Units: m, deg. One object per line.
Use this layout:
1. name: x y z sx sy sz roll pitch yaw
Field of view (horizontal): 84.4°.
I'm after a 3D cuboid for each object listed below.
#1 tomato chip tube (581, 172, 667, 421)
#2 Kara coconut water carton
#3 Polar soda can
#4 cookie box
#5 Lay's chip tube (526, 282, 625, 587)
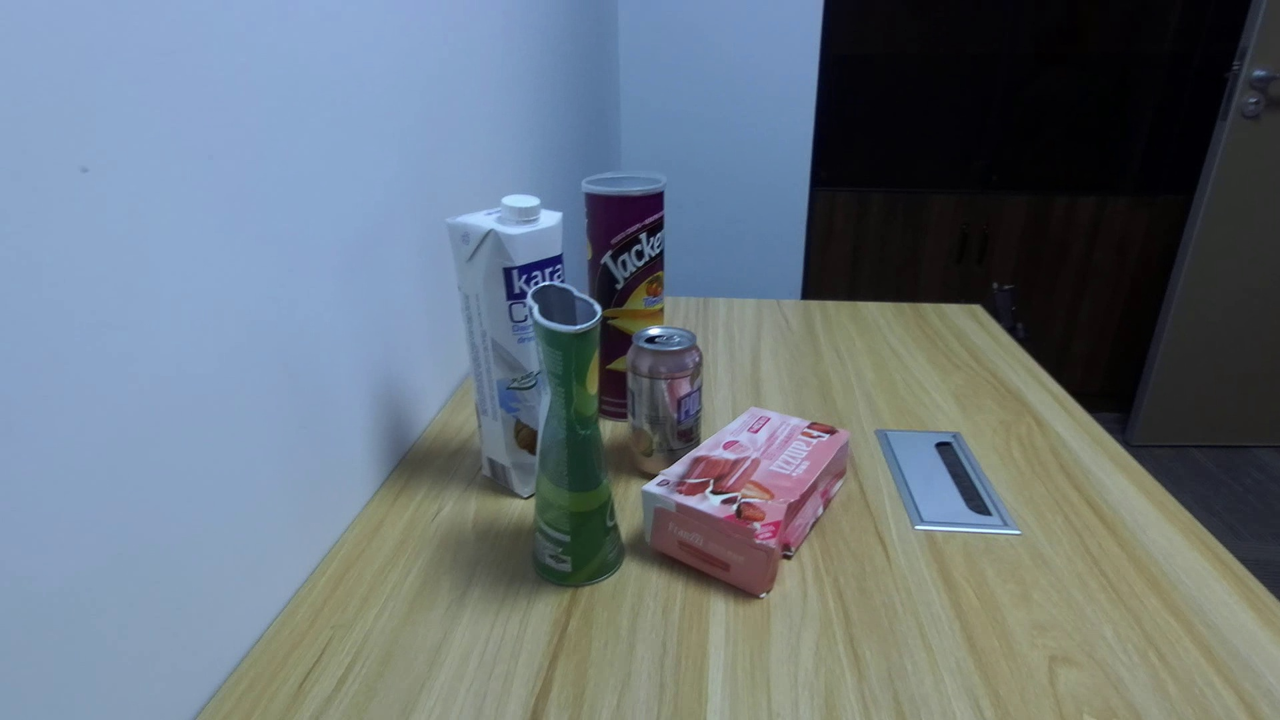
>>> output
1. tomato chip tube: -0.011 -0.059 0.707 0.078 0.234 0.078 -1 25 1
2. Kara coconut water carton: -0.101 -0.013 0.590 0.075 0.245 0.077 20 32 41
3. Polar soda can: 0.023 0.037 0.629 0.067 0.125 0.067 0 22 0
4. cookie box: 0.092 0.097 0.563 0.104 0.059 0.186 16 27 29
5. Lay's chip tube: -0.048 0.055 0.489 0.074 0.199 0.069 13 28 29
